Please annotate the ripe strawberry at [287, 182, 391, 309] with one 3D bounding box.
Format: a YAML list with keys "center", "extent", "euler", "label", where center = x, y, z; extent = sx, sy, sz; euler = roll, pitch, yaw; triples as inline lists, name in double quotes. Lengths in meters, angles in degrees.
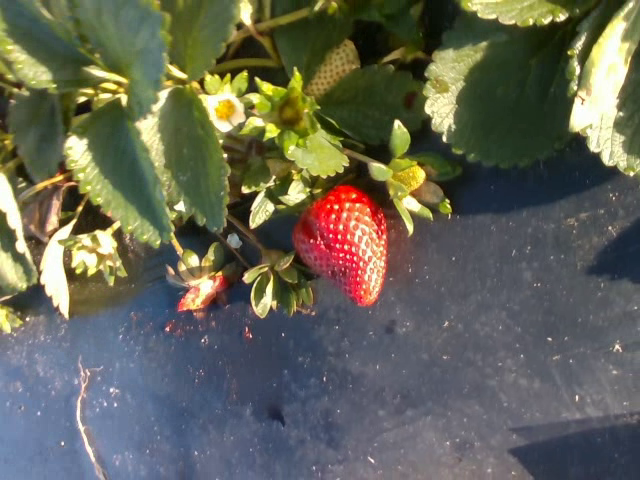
- center: [0.011, 0.008, 0.259]
  extent: [0.041, 0.052, 0.052]
  euler: [5, -35, -37]
  label: "ripe strawberry"
